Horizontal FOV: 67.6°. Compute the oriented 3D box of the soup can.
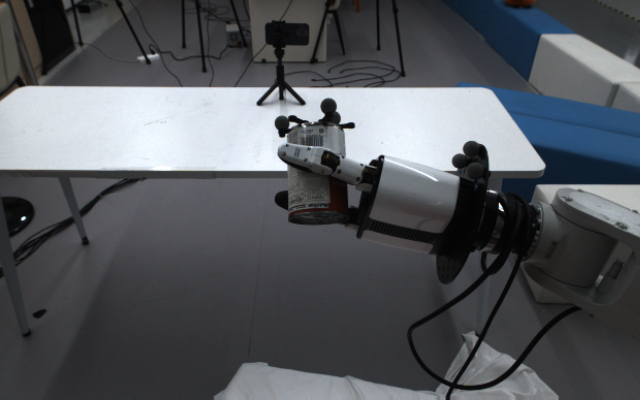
[{"bbox_3d":[-0.003,-0.030,0.541,0.067,0.067,0.101,-1,76,-4],"label":"soup can"}]
